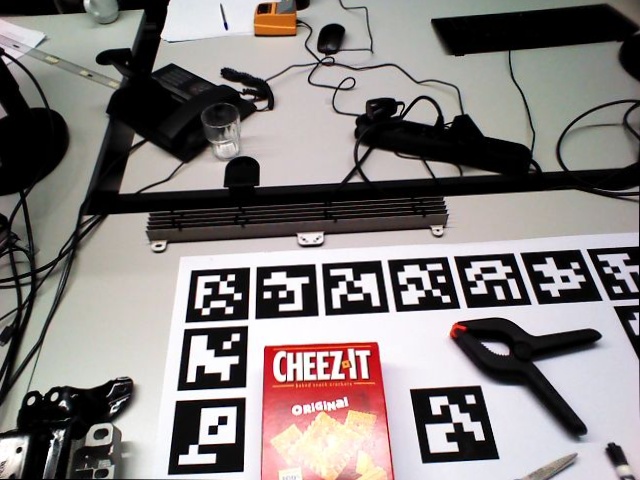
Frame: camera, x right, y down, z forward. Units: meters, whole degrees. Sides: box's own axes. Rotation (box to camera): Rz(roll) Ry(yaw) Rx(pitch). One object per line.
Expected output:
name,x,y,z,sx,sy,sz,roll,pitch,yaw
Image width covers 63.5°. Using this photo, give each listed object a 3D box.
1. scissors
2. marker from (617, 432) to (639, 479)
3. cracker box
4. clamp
scissors,0.256,0.302,0.637,0.202,0.016,0.088,-26,53,-19
marker,0.398,0.295,0.631,0.020,0.020,0.120,-7,51,-2
cracker box,0.018,0.239,0.671,0.164,0.072,0.212,-3,51,2
clamp,0.296,0.156,0.757,0.203,0.037,0.164,21,54,18
